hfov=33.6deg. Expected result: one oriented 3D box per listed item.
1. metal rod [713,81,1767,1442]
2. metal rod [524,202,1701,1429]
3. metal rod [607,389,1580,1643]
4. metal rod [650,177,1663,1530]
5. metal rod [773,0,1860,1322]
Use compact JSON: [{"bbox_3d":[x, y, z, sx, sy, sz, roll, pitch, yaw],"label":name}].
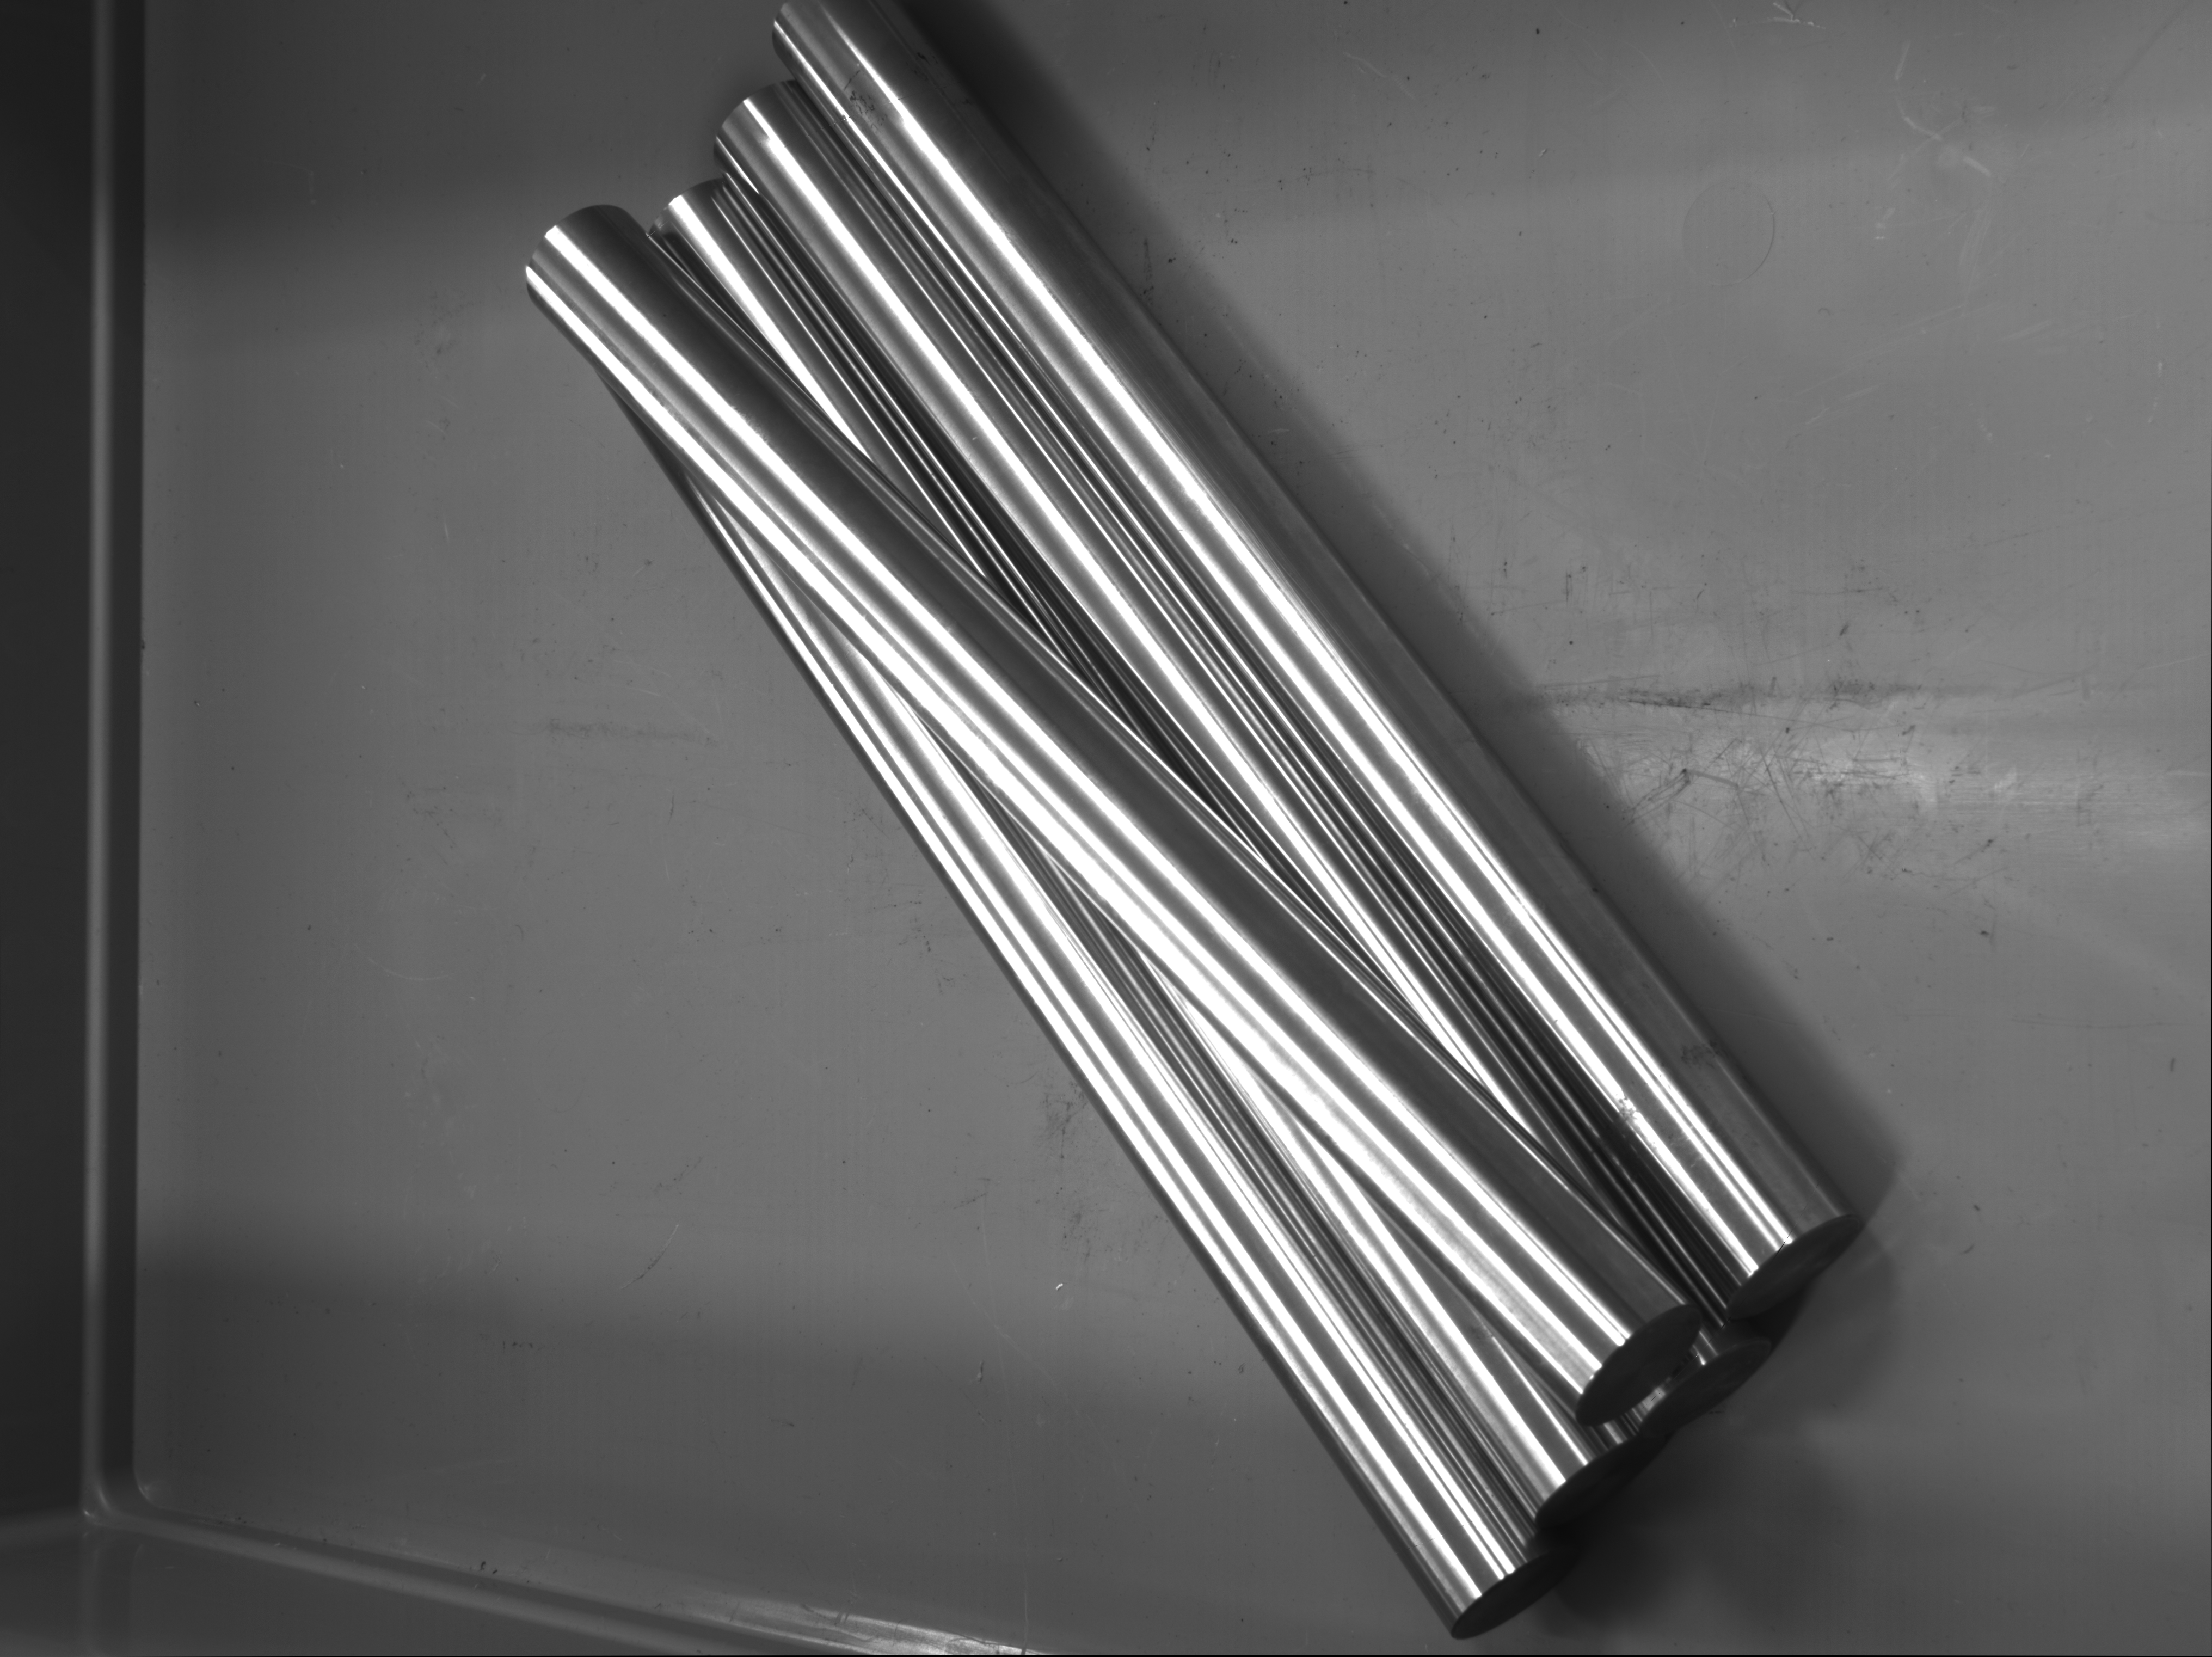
[{"bbox_3d":[0.014,-0.023,0.632,0.025,0.025,0.299,-50,60,28],"label":"metal rod"},{"bbox_3d":[-0.010,-0.014,0.619,0.299,0.025,0.025,47,118,30],"label":"metal rod"},{"bbox_3d":[-0.012,0.013,0.654,0.025,0.025,0.299,-50,60,28],"label":"metal rod"},{"bbox_3d":[0.000,-0.007,0.644,0.025,0.025,0.299,-50,60,28],"label":"metal rod"},{"bbox_3d":[0.026,-0.043,0.622,0.025,0.025,0.299,-50,60,28],"label":"metal rod"}]
